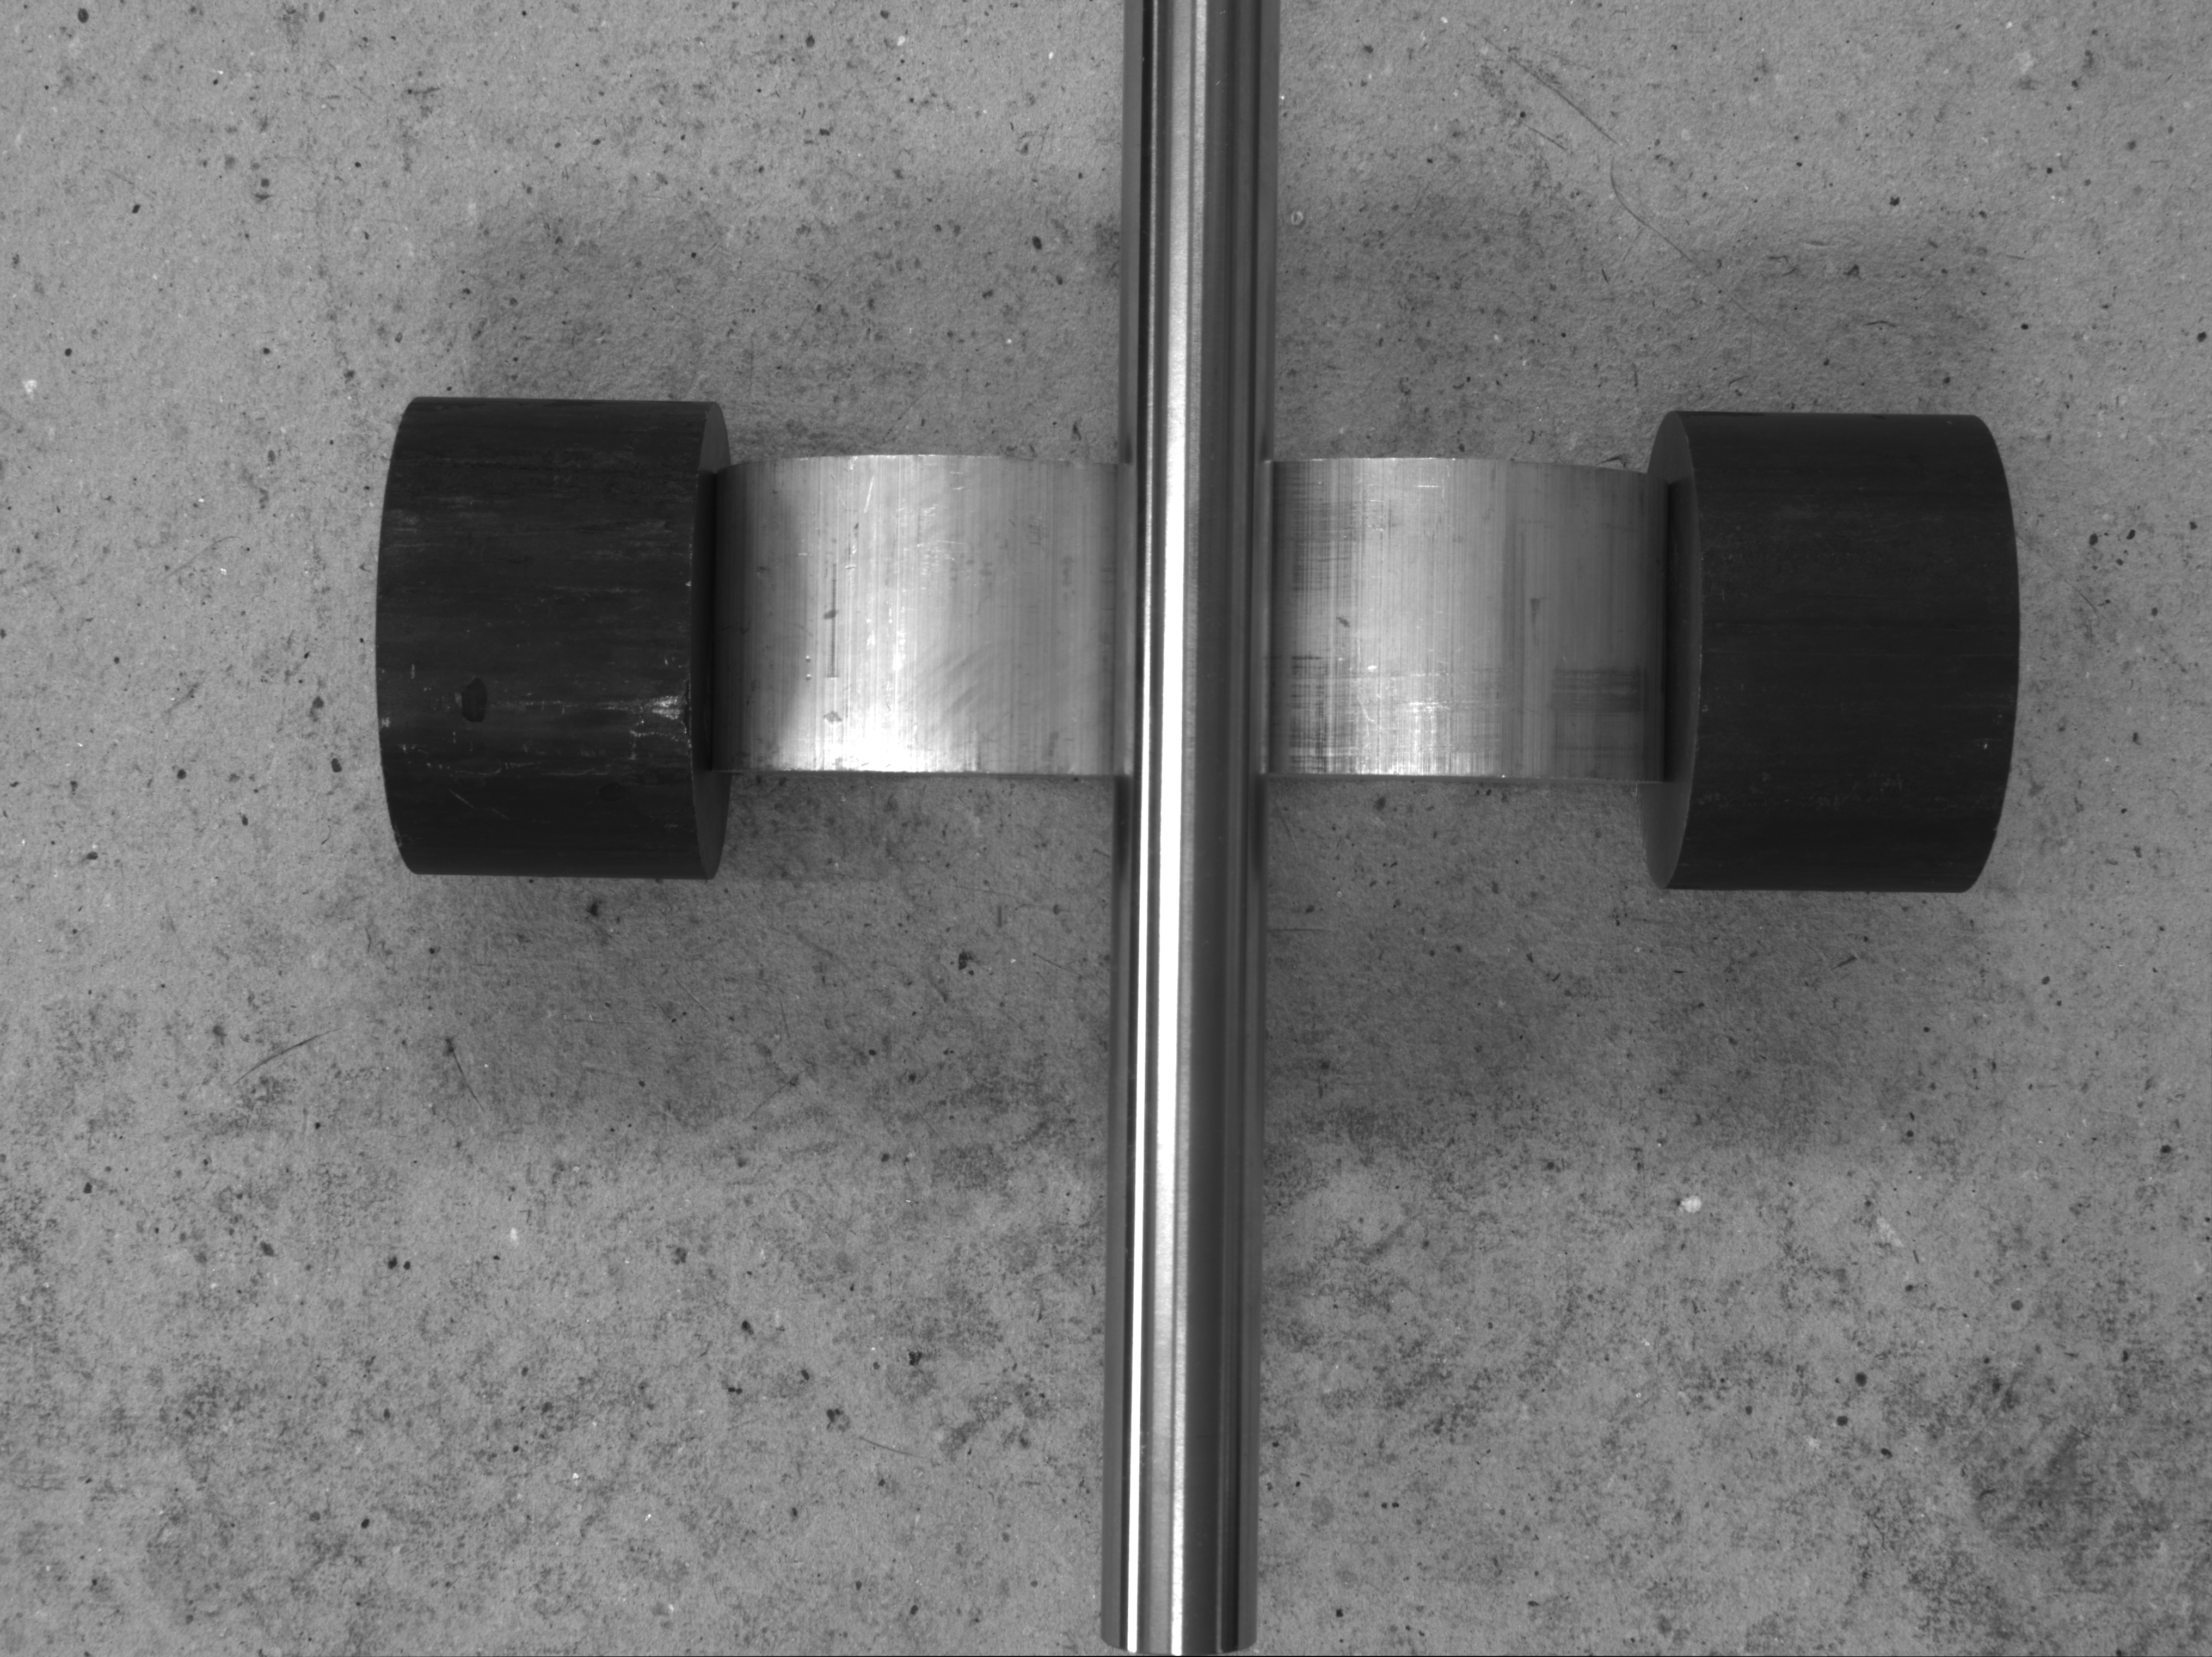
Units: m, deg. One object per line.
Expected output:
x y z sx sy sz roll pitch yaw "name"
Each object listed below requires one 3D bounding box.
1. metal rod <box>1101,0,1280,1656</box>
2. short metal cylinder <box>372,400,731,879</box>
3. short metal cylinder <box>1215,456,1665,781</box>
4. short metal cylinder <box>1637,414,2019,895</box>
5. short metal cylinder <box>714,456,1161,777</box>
0.014 -0.021 0.585 0.025 0.025 0.300 1 90 0 "metal rod"
-0.090 -0.032 0.619 0.050 0.080 0.080 1 90 0 "short metal cylinder"
0.054 -0.034 0.618 0.080 0.080 0.050 1 90 0 "short metal cylinder"
0.119 -0.029 0.619 0.050 0.080 0.080 1 90 0 "short metal cylinder"
-0.026 -0.034 0.619 0.080 0.080 0.050 1 90 0 "short metal cylinder"
